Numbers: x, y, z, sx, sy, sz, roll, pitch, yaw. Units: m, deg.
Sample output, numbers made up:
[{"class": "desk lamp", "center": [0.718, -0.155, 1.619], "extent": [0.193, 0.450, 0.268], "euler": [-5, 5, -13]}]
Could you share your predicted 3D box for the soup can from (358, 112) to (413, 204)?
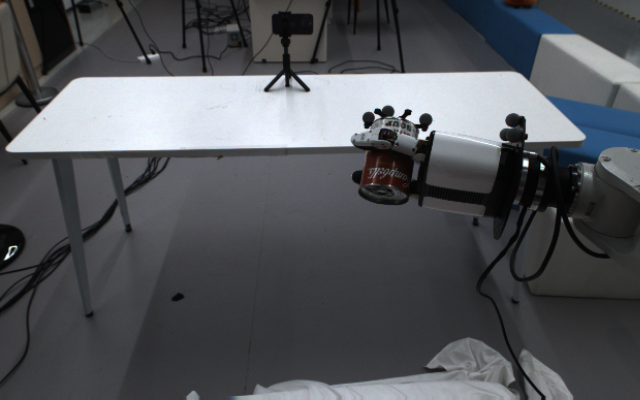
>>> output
[{"class": "soup can", "center": [0.094, -0.053, 0.649], "extent": [0.067, 0.067, 0.101], "euler": [9, 70, 10]}]
